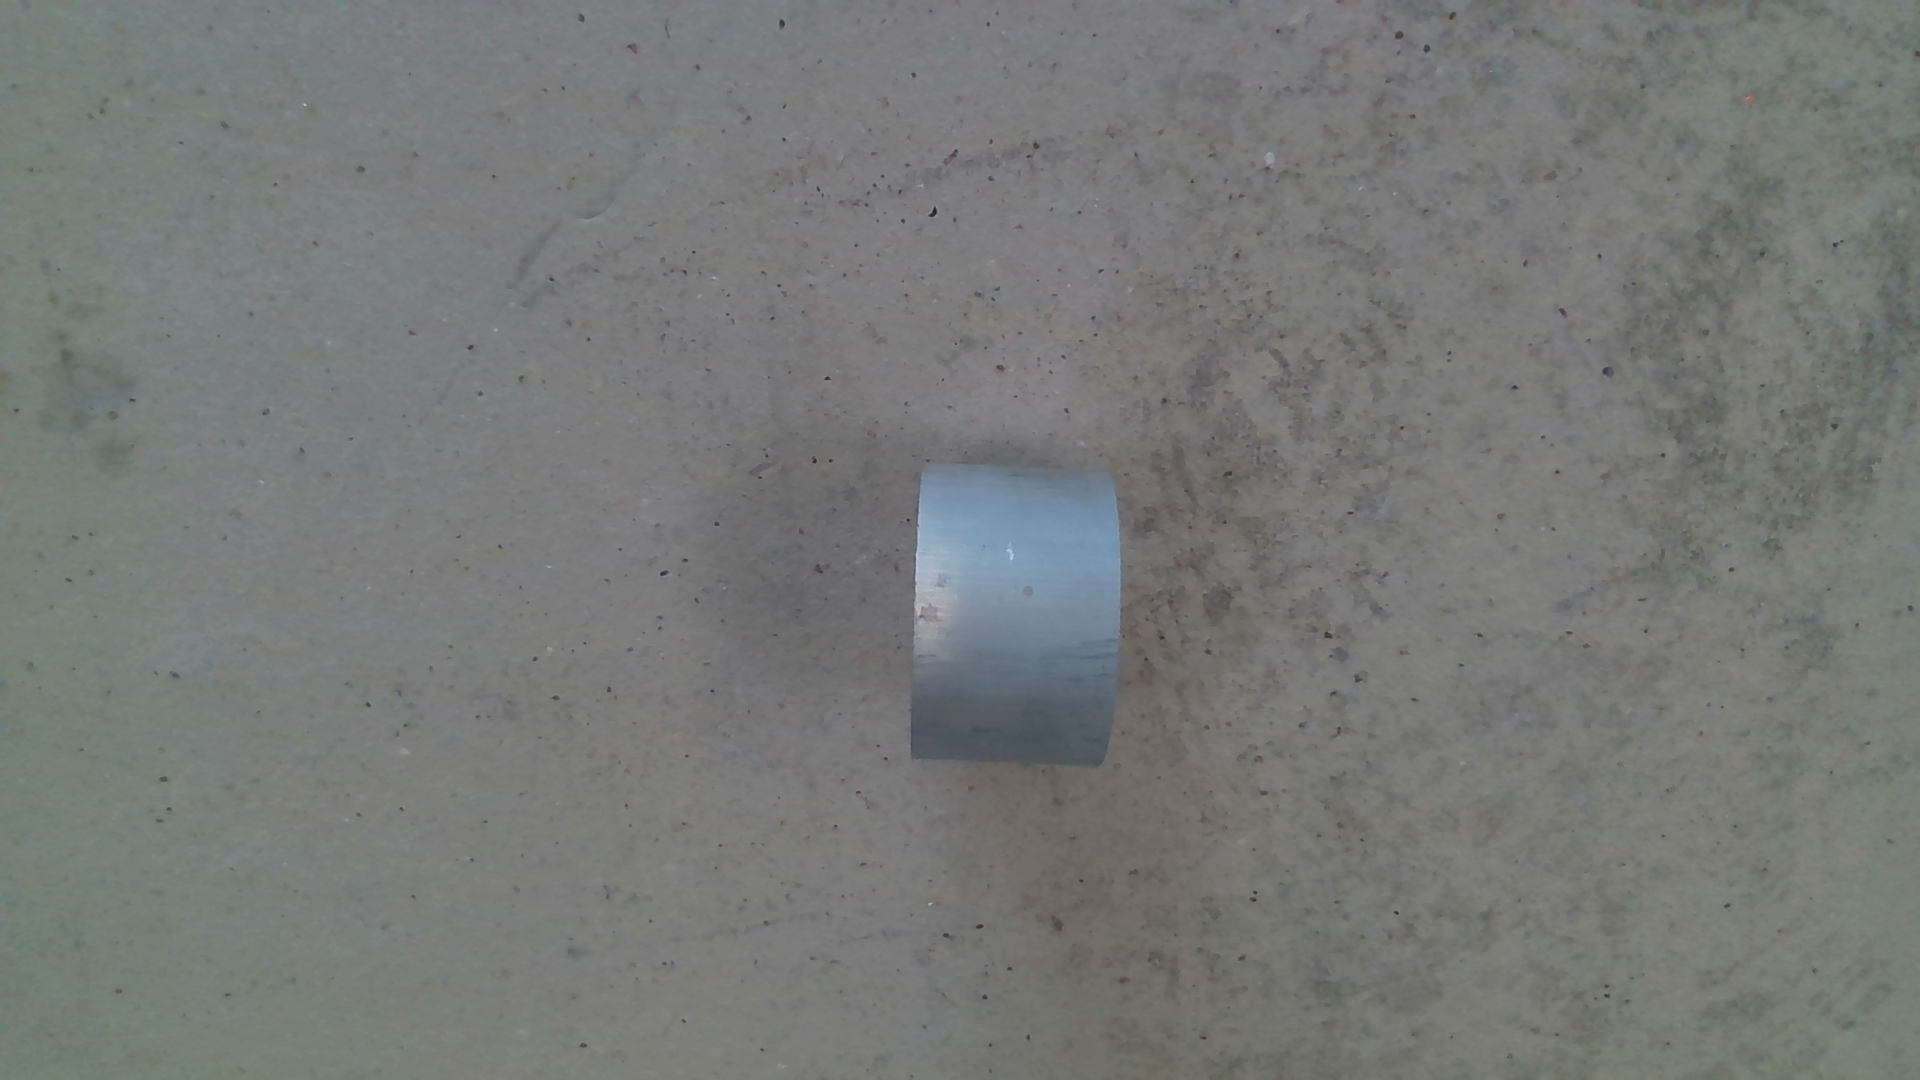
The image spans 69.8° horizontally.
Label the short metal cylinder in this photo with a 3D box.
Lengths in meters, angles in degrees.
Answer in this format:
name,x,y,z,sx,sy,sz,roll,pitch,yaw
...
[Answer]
name,x,y,z,sx,sy,sz,roll,pitch,yaw
short metal cylinder,0.013,0.019,0.371,0.050,0.080,0.080,2,110,-1
